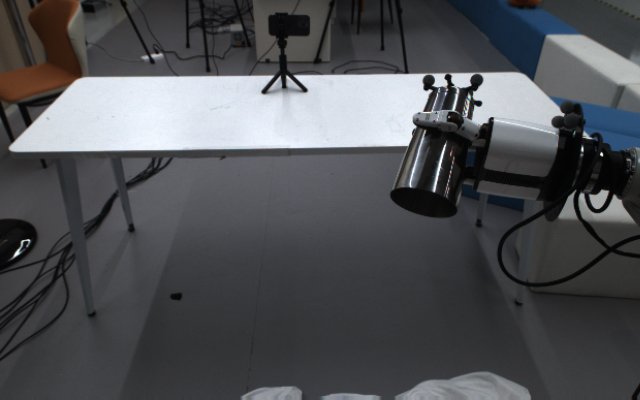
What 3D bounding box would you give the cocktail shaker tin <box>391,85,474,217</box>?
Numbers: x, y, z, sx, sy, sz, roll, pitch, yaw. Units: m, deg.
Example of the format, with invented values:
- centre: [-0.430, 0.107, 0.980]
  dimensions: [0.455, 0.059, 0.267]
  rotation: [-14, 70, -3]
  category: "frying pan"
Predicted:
- centre: [0.165, -0.072, 0.677]
  dimensions: [0.093, 0.093, 0.170]
  rotation: [13, 70, 16]
  category: "cocktail shaker tin"
